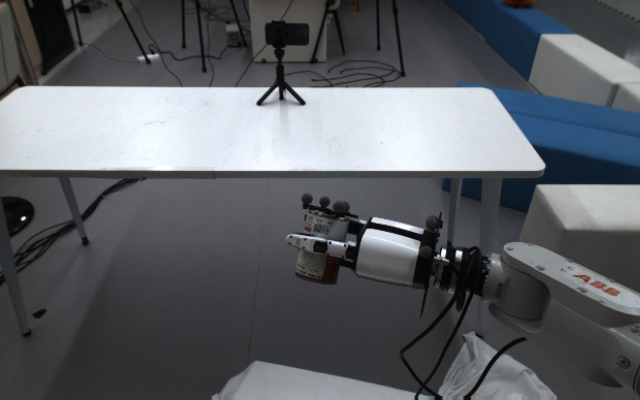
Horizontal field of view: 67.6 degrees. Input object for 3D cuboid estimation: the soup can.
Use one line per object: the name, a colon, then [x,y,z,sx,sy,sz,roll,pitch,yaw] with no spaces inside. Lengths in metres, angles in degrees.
soup can: [0.005,0.071,0.739,0.067,0.101,0.067,12,2,0]
